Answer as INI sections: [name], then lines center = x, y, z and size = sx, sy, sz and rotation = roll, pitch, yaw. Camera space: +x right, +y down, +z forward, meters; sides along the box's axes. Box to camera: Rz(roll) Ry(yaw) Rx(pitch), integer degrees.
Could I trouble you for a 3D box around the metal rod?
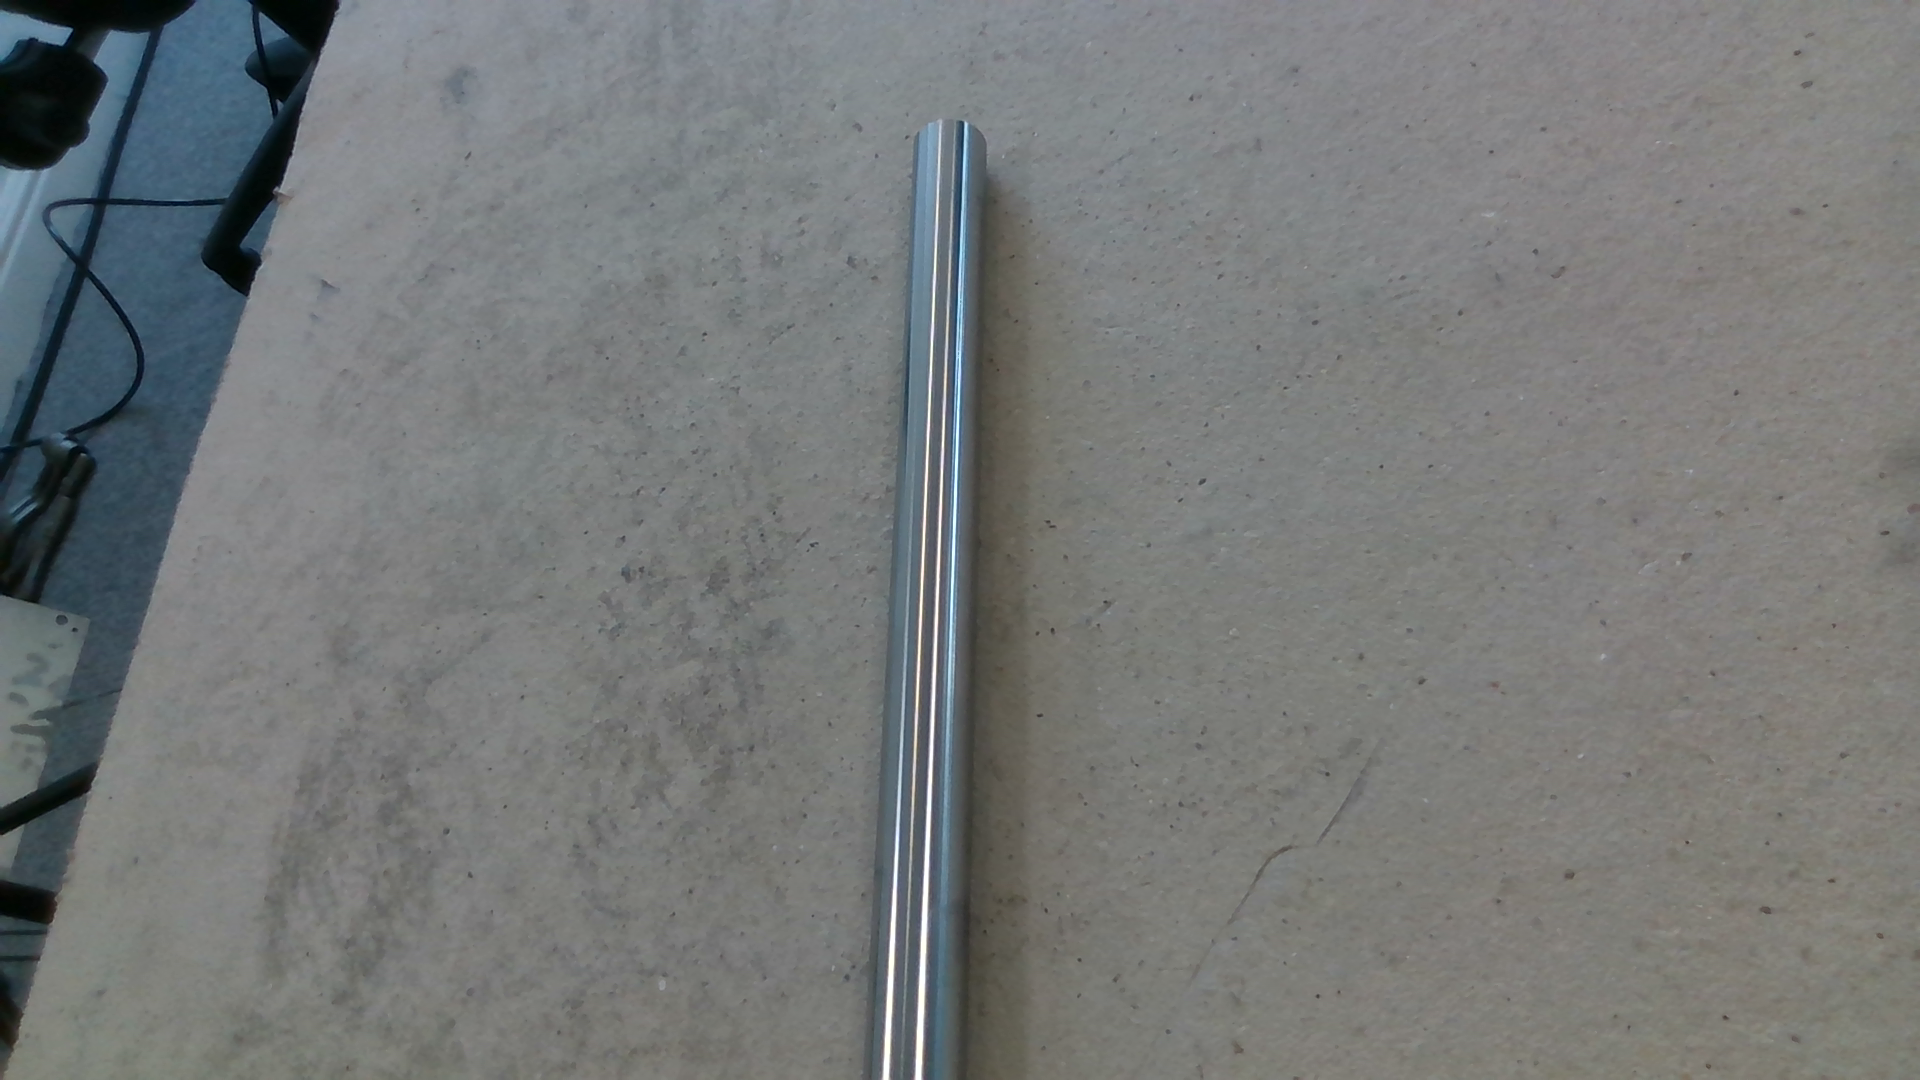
[metal rod]
center = -0.007, -0.001, 0.398
size = 0.025, 0.025, 0.299
rotation = -13, 60, 26
